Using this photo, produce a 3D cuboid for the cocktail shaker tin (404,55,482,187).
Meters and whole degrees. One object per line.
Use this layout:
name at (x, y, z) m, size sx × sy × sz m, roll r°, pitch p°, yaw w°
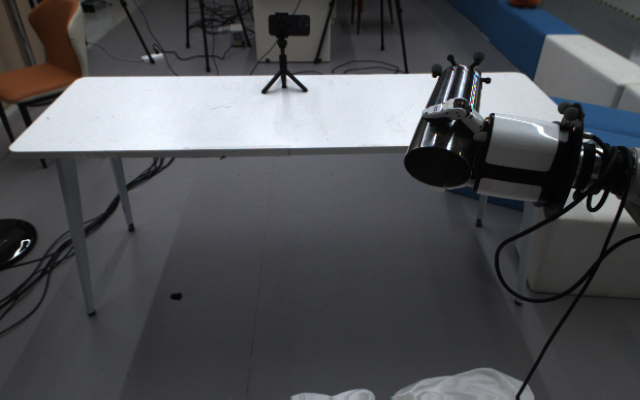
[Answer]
cocktail shaker tin at (0.187, -0.114, 0.701) m, size 0.093 × 0.093 × 0.170 m, roll 13°, pitch 60°, yaw 16°
